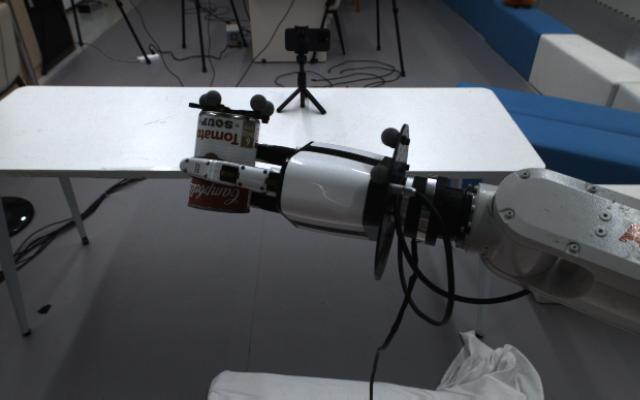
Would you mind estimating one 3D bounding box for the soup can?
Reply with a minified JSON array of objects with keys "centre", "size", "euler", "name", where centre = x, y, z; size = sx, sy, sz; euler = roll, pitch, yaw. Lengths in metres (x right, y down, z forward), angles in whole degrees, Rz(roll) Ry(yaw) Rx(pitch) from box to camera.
[{"centre":[-0.102,-0.040,0.529],"size":[0.067,0.101,0.067],"euler":[7,4,0],"name":"soup can"}]
